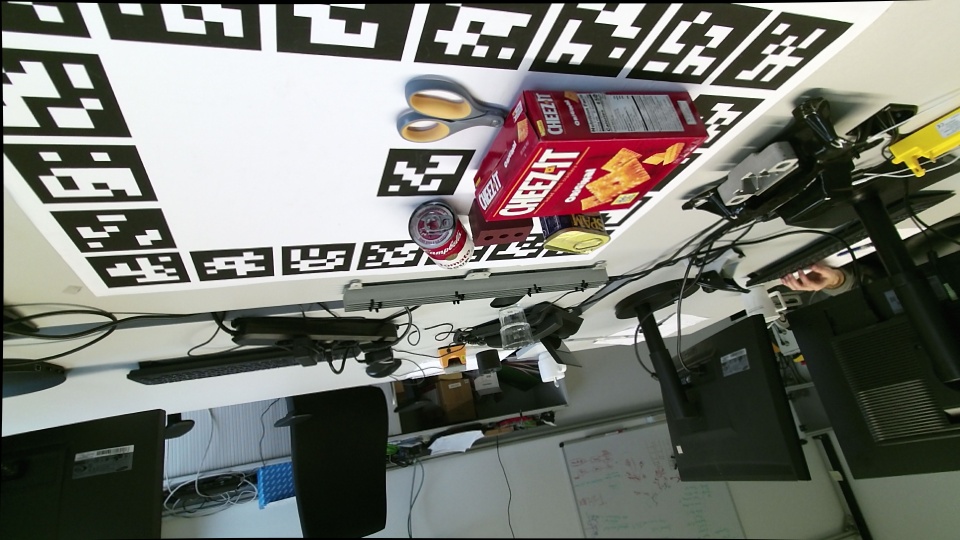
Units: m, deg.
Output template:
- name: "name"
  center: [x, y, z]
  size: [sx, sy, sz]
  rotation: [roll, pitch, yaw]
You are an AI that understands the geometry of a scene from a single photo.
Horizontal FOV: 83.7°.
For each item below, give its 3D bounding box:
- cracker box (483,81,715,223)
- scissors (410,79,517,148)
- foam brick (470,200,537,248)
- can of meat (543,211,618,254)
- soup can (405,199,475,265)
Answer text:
- name: "cracker box"
  center: [0.130, -0.127, 0.614]
  size: [0.214, 0.071, 0.164]
  rotation: [-11, 158, -19]
- name: "scissors"
  center: [0.026, -0.162, 0.553]
  size: [0.203, 0.016, 0.088]
  rotation: [-7, 155, -18]
- name: "foam brick"
  center: [0.031, -0.069, 0.753]
  size: [0.078, 0.051, 0.053]
  rotation: [-9, 156, -12]
- name: "can of meat"
  center: [0.134, -0.074, 0.754]
  size: [0.102, 0.083, 0.058]
  rotation: [3, 151, -34]
- name: "soup can"
  center: [-0.053, -0.050, 0.745]
  size: [0.068, 0.067, 0.102]
  rotation: [-20, 161, 12]
